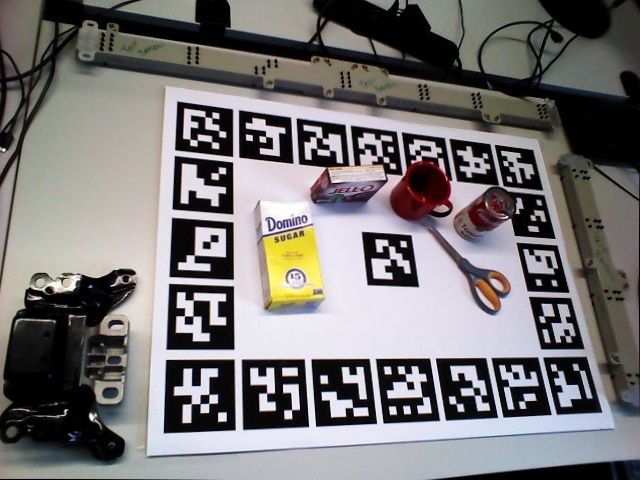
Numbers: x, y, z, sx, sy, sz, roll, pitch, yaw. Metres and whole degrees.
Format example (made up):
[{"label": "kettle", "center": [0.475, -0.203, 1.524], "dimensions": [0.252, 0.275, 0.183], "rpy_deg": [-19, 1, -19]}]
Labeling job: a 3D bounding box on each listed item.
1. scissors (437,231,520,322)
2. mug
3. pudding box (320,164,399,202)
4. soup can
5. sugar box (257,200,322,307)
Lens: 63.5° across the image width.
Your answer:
[{"label": "scissors", "center": [0.289, 0.057, 0.968], "dimensions": [0.087, 0.016, 0.203], "rpy_deg": [-41, 88, -18]}, {"label": "mug", "center": [0.206, -0.087, 0.958], "dimensions": [0.093, 0.082, 0.117], "rpy_deg": [-34, 83, -25]}, {"label": "pudding box", "center": [0.067, -0.100, 0.905], "dimensions": [0.113, 0.090, 0.038], "rpy_deg": [-5, 78, -22]}, {"label": "soup can", "center": [0.318, -0.042, 0.977], "dimensions": [0.068, 0.103, 0.067], "rpy_deg": [7, 67, -16]}, {"label": "sugar box", "center": [-0.051, 0.020, 0.851], "dimensions": [0.093, 0.045, 0.175], "rpy_deg": [1, 72, -17]}]
